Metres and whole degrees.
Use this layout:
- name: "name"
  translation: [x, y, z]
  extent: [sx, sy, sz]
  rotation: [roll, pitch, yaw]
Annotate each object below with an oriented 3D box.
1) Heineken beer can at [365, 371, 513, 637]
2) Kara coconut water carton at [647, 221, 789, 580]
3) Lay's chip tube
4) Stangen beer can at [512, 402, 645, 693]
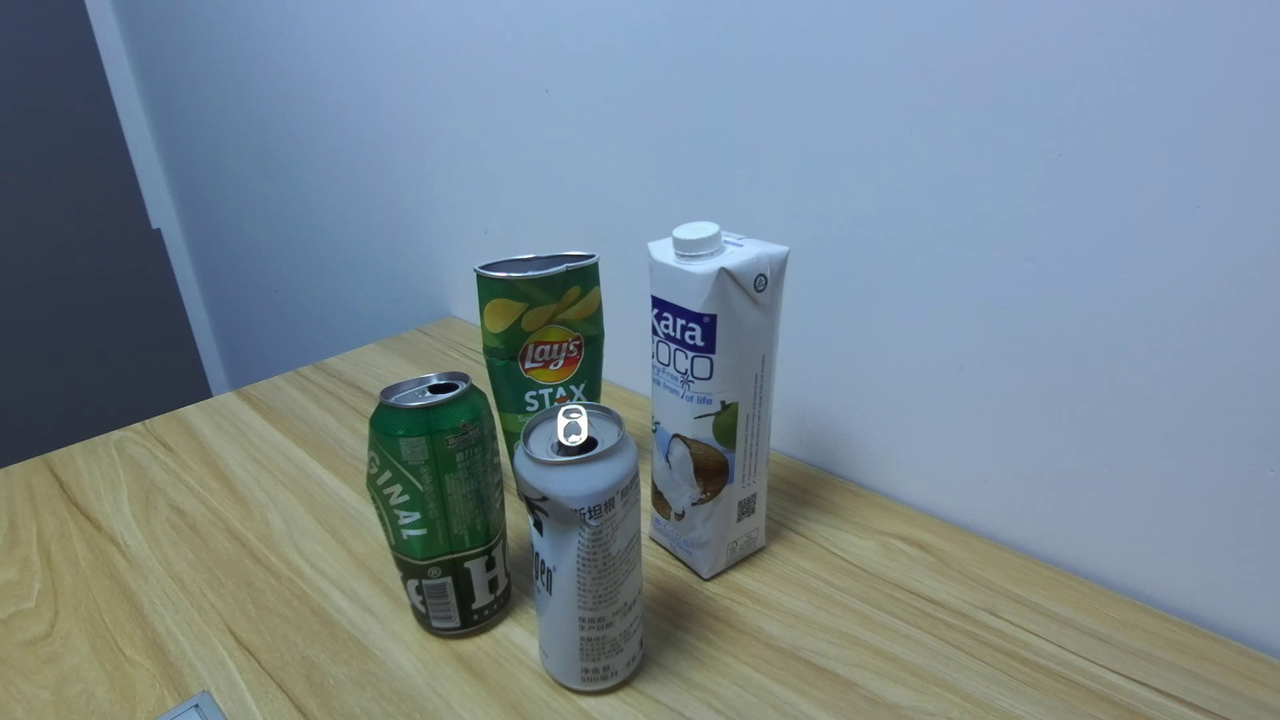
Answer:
- name: "Heineken beer can"
  translation: [-0.123, 0.092, 0.451]
  extent: [0.068, 0.168, 0.069]
  rotation: [4, 23, 17]
- name: "Kara coconut water carton"
  translation: [0.049, 0.027, 0.483]
  extent: [0.075, 0.245, 0.076]
  rotation: [-18, 30, -35]
- name: "Lay's chip tube"
  translation: [-0.073, 0.017, 0.563]
  extent: [0.068, 0.199, 0.075]
  rotation: [15, 31, 31]
- name: "Stangen beer can"
  translation: [-0.033, 0.109, 0.405]
  extent: [0.069, 0.173, 0.070]
  rotation: [2, 26, 9]
